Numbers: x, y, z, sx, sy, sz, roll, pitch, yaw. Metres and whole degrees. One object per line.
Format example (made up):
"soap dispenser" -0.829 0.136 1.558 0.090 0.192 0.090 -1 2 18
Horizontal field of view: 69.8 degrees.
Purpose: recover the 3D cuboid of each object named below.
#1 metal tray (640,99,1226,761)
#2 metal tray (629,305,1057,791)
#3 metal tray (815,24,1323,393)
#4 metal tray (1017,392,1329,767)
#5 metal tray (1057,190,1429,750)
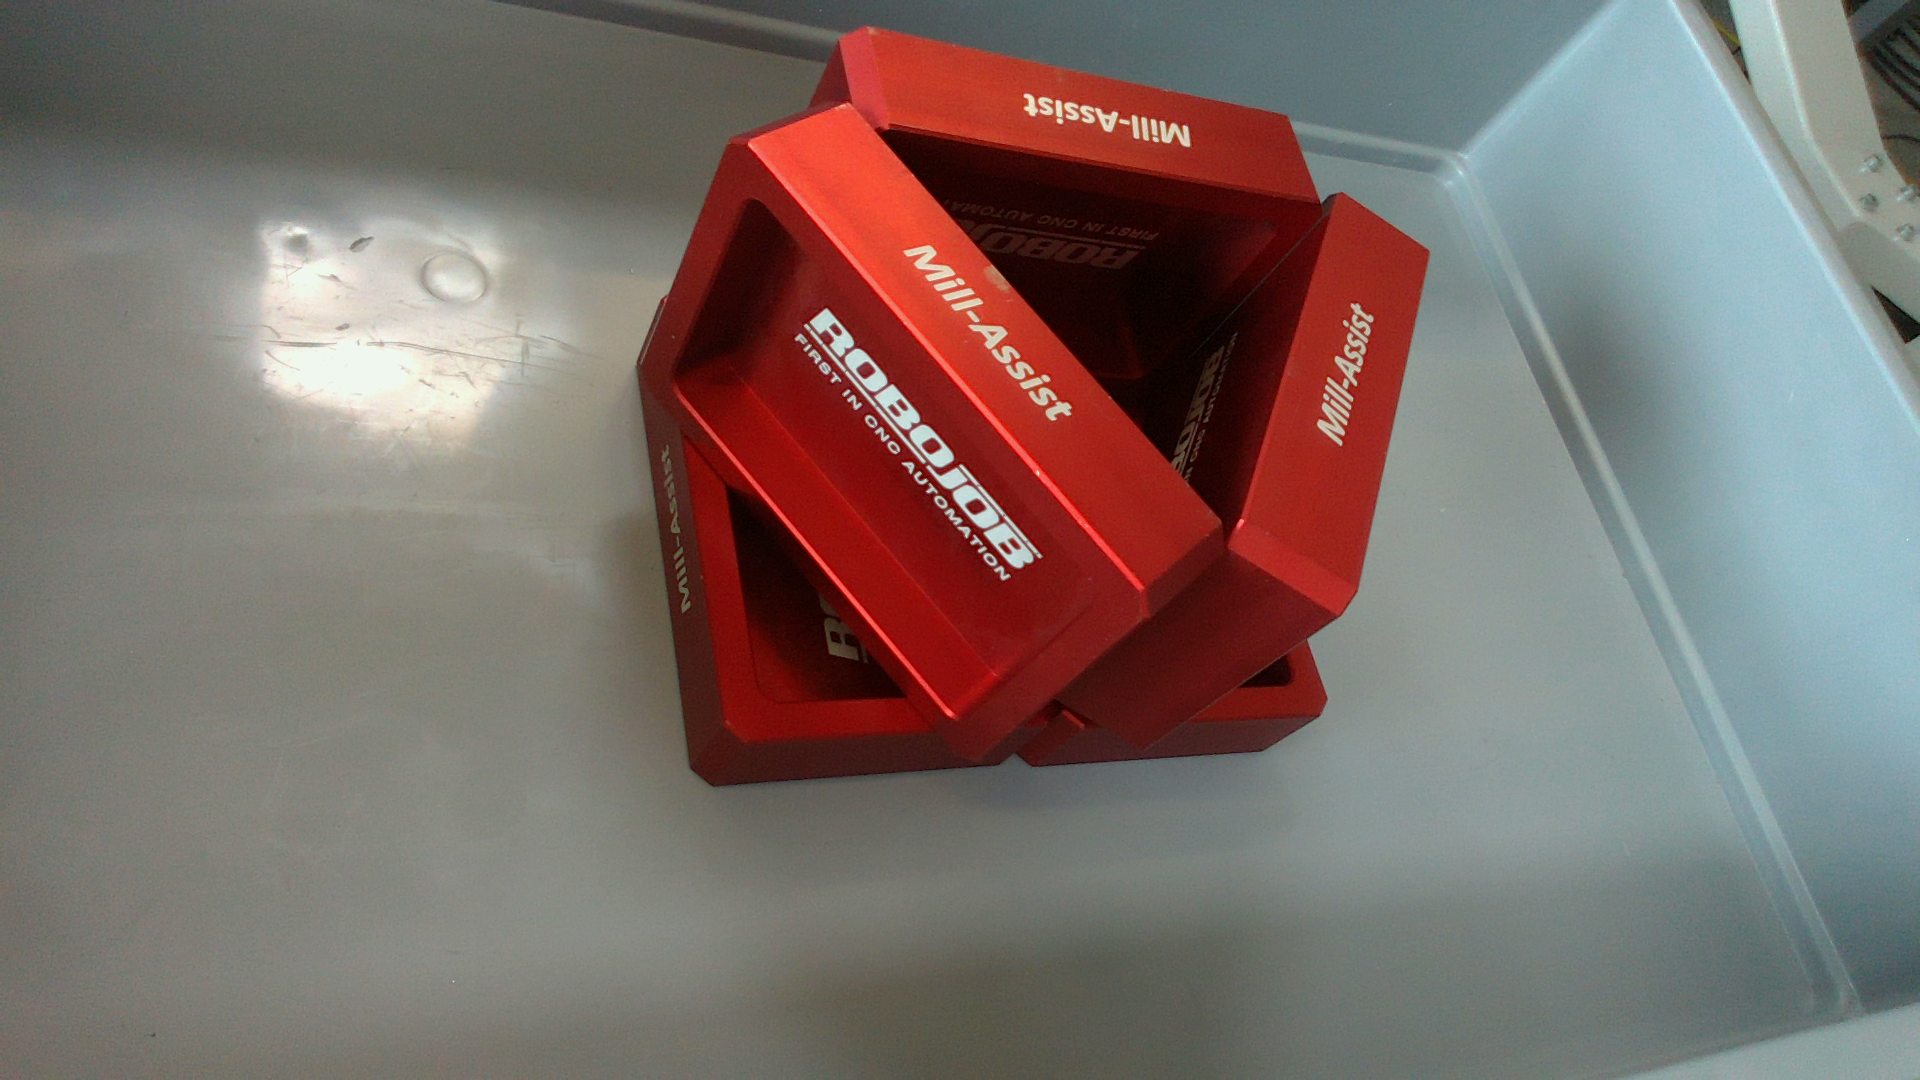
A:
"metal tray" -0.013 -0.021 0.313 0.130 0.090 0.030 49 52 7
"metal tray" -0.034 -0.003 0.370 0.090 0.030 0.130 0 61 -28
"metal tray" 0.017 -0.081 0.365 0.130 0.090 0.030 2 61 -27
"metal tray" 0.048 -0.001 0.412 0.090 0.030 0.130 1 60 -27
"metal tray" 0.073 -0.019 0.358 0.030 0.090 0.130 31 52 -8
